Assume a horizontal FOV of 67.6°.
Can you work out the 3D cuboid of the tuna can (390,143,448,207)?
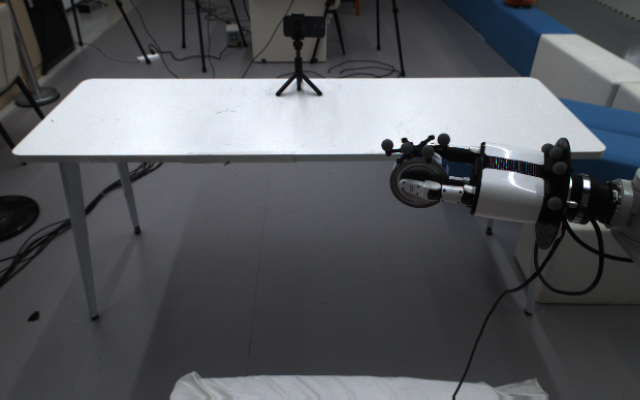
[{"bbox_3d":[0.150,-0.034,0.719,0.085,0.085,0.034,10,33,11],"label":"tuna can"}]
